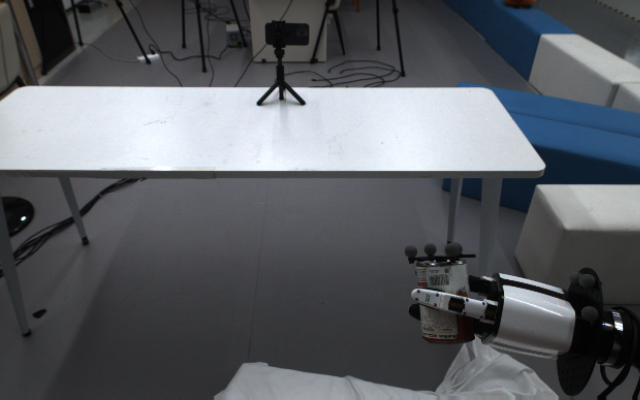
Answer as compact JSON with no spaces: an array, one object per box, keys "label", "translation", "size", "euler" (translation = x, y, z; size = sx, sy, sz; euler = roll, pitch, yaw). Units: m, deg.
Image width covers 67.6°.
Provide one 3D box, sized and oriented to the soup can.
[{"label":"soup can","translation":[0.167,0.131,0.639],"size":[0.067,0.101,0.067],"euler":[-5,-5,0]}]
